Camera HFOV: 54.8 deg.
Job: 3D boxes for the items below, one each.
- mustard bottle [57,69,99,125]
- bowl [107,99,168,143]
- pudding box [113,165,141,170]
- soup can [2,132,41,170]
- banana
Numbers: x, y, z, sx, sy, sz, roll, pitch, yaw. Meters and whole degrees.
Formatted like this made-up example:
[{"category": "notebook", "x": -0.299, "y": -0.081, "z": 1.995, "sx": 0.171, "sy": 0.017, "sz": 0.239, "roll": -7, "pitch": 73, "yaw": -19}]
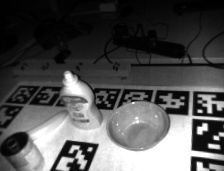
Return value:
[{"category": "mustard bottle", "x": -0.103, "y": 0.026, "z": 0.600, "sx": 0.095, "sy": 0.193, "sz": 0.058, "roll": 0, "pitch": 38, "yaw": 19}, {"category": "bowl", "x": 0.071, "y": 0.101, "z": 0.587, "sx": 0.161, "sy": 0.055, "sz": 0.161, "roll": -10, "pitch": 38, "yaw": 8}, {"category": "pudding box", "x": 0.016, "y": 0.227, "z": 0.457, "sx": 0.114, "sy": 0.039, "sz": 0.089, "roll": -15, "pitch": 44, "yaw": 0}, {"category": "soup can", "x": -0.232, "y": 0.160, "z": 0.552, "sx": 0.068, "sy": 0.103, "sz": 0.067, "roll": -7, "pitch": 38, "yaw": 6}, {"category": "banana", "x": -0.233, "y": 0.118, "z": 0.671, "sx": 0.198, "sy": 0.039, "sz": 0.073, "roll": -30, "pitch": 31, "yaw": -19}]
